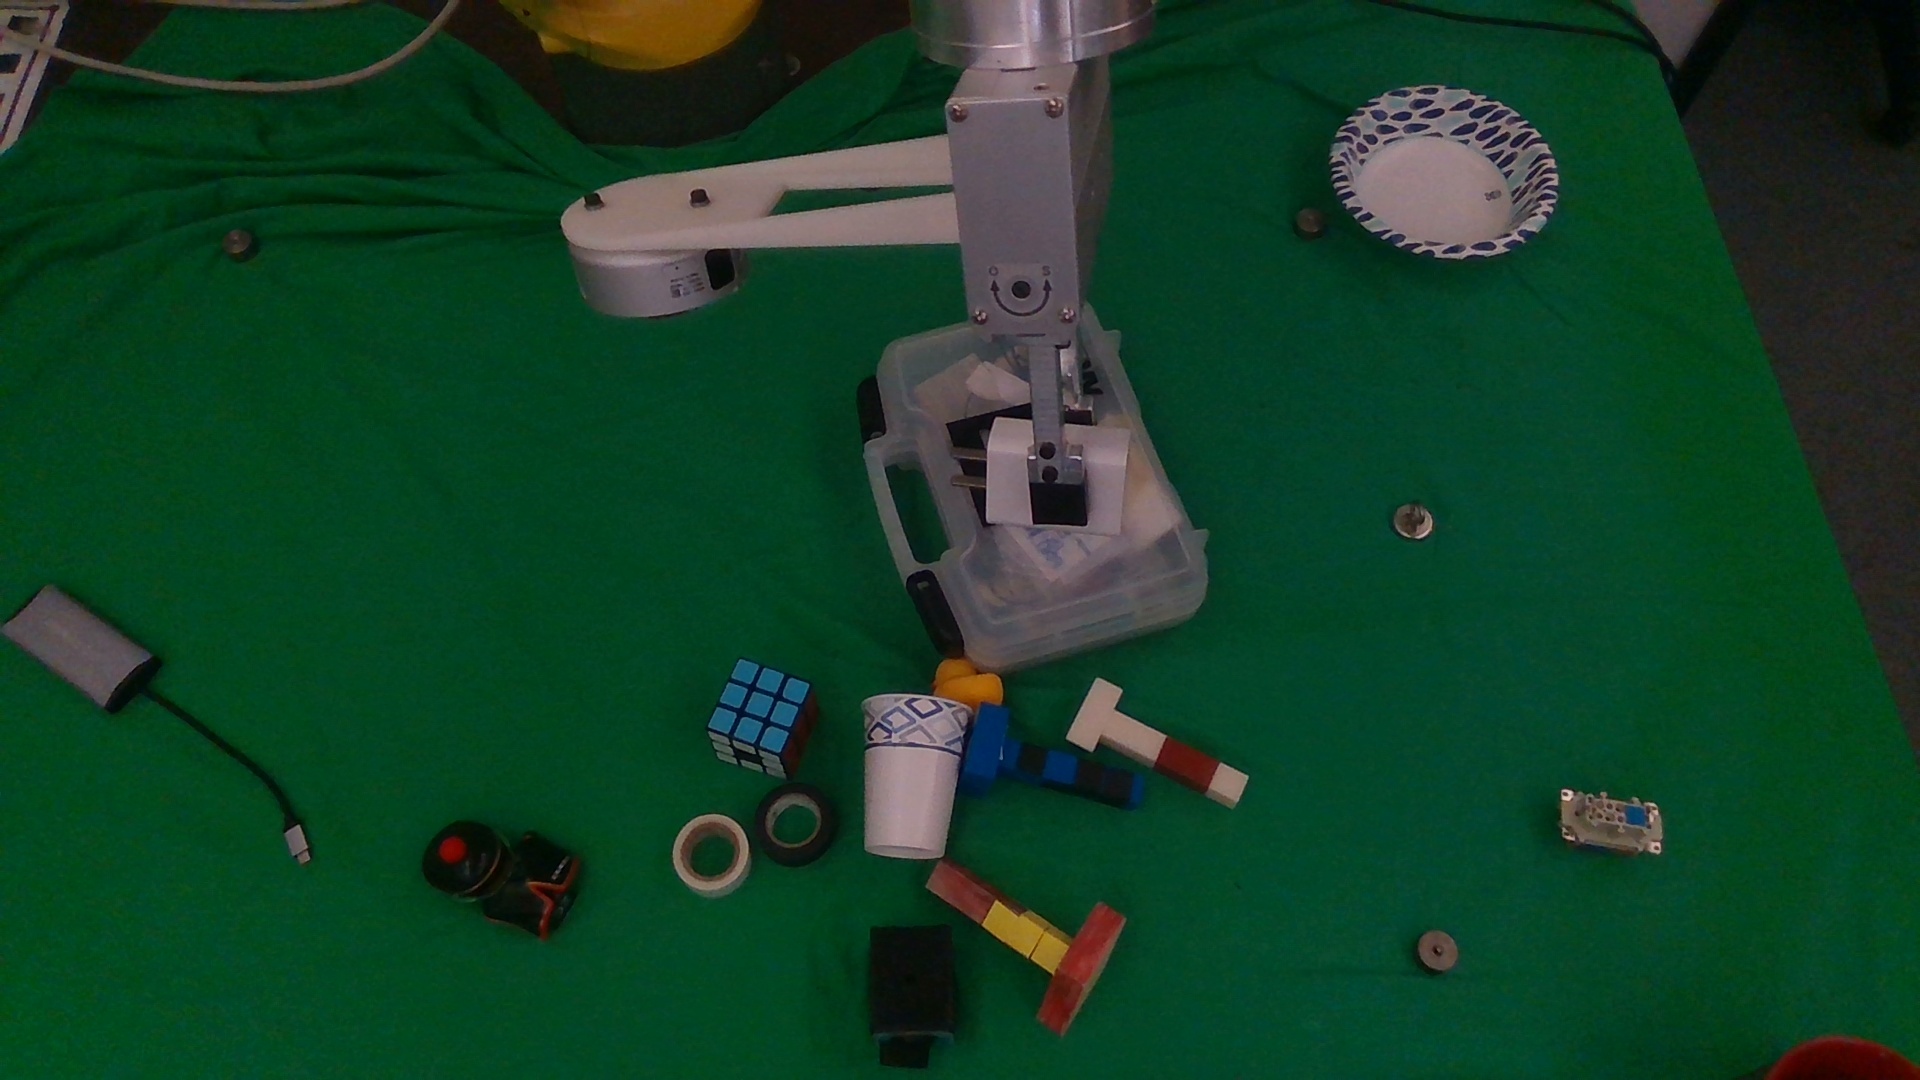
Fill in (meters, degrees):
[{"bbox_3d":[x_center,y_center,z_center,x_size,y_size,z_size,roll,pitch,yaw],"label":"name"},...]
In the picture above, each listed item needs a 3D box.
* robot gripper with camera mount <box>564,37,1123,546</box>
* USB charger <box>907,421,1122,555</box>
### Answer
[{"bbox_3d":[-0.045,-0.077,0.489,0.194,0.158,0.119,2,33,13],"label":"robot gripper with camera mount"},{"bbox_3d":[0.019,-0.021,0.512,0.075,0.044,0.029,7,28,1],"label":"USB charger"}]
